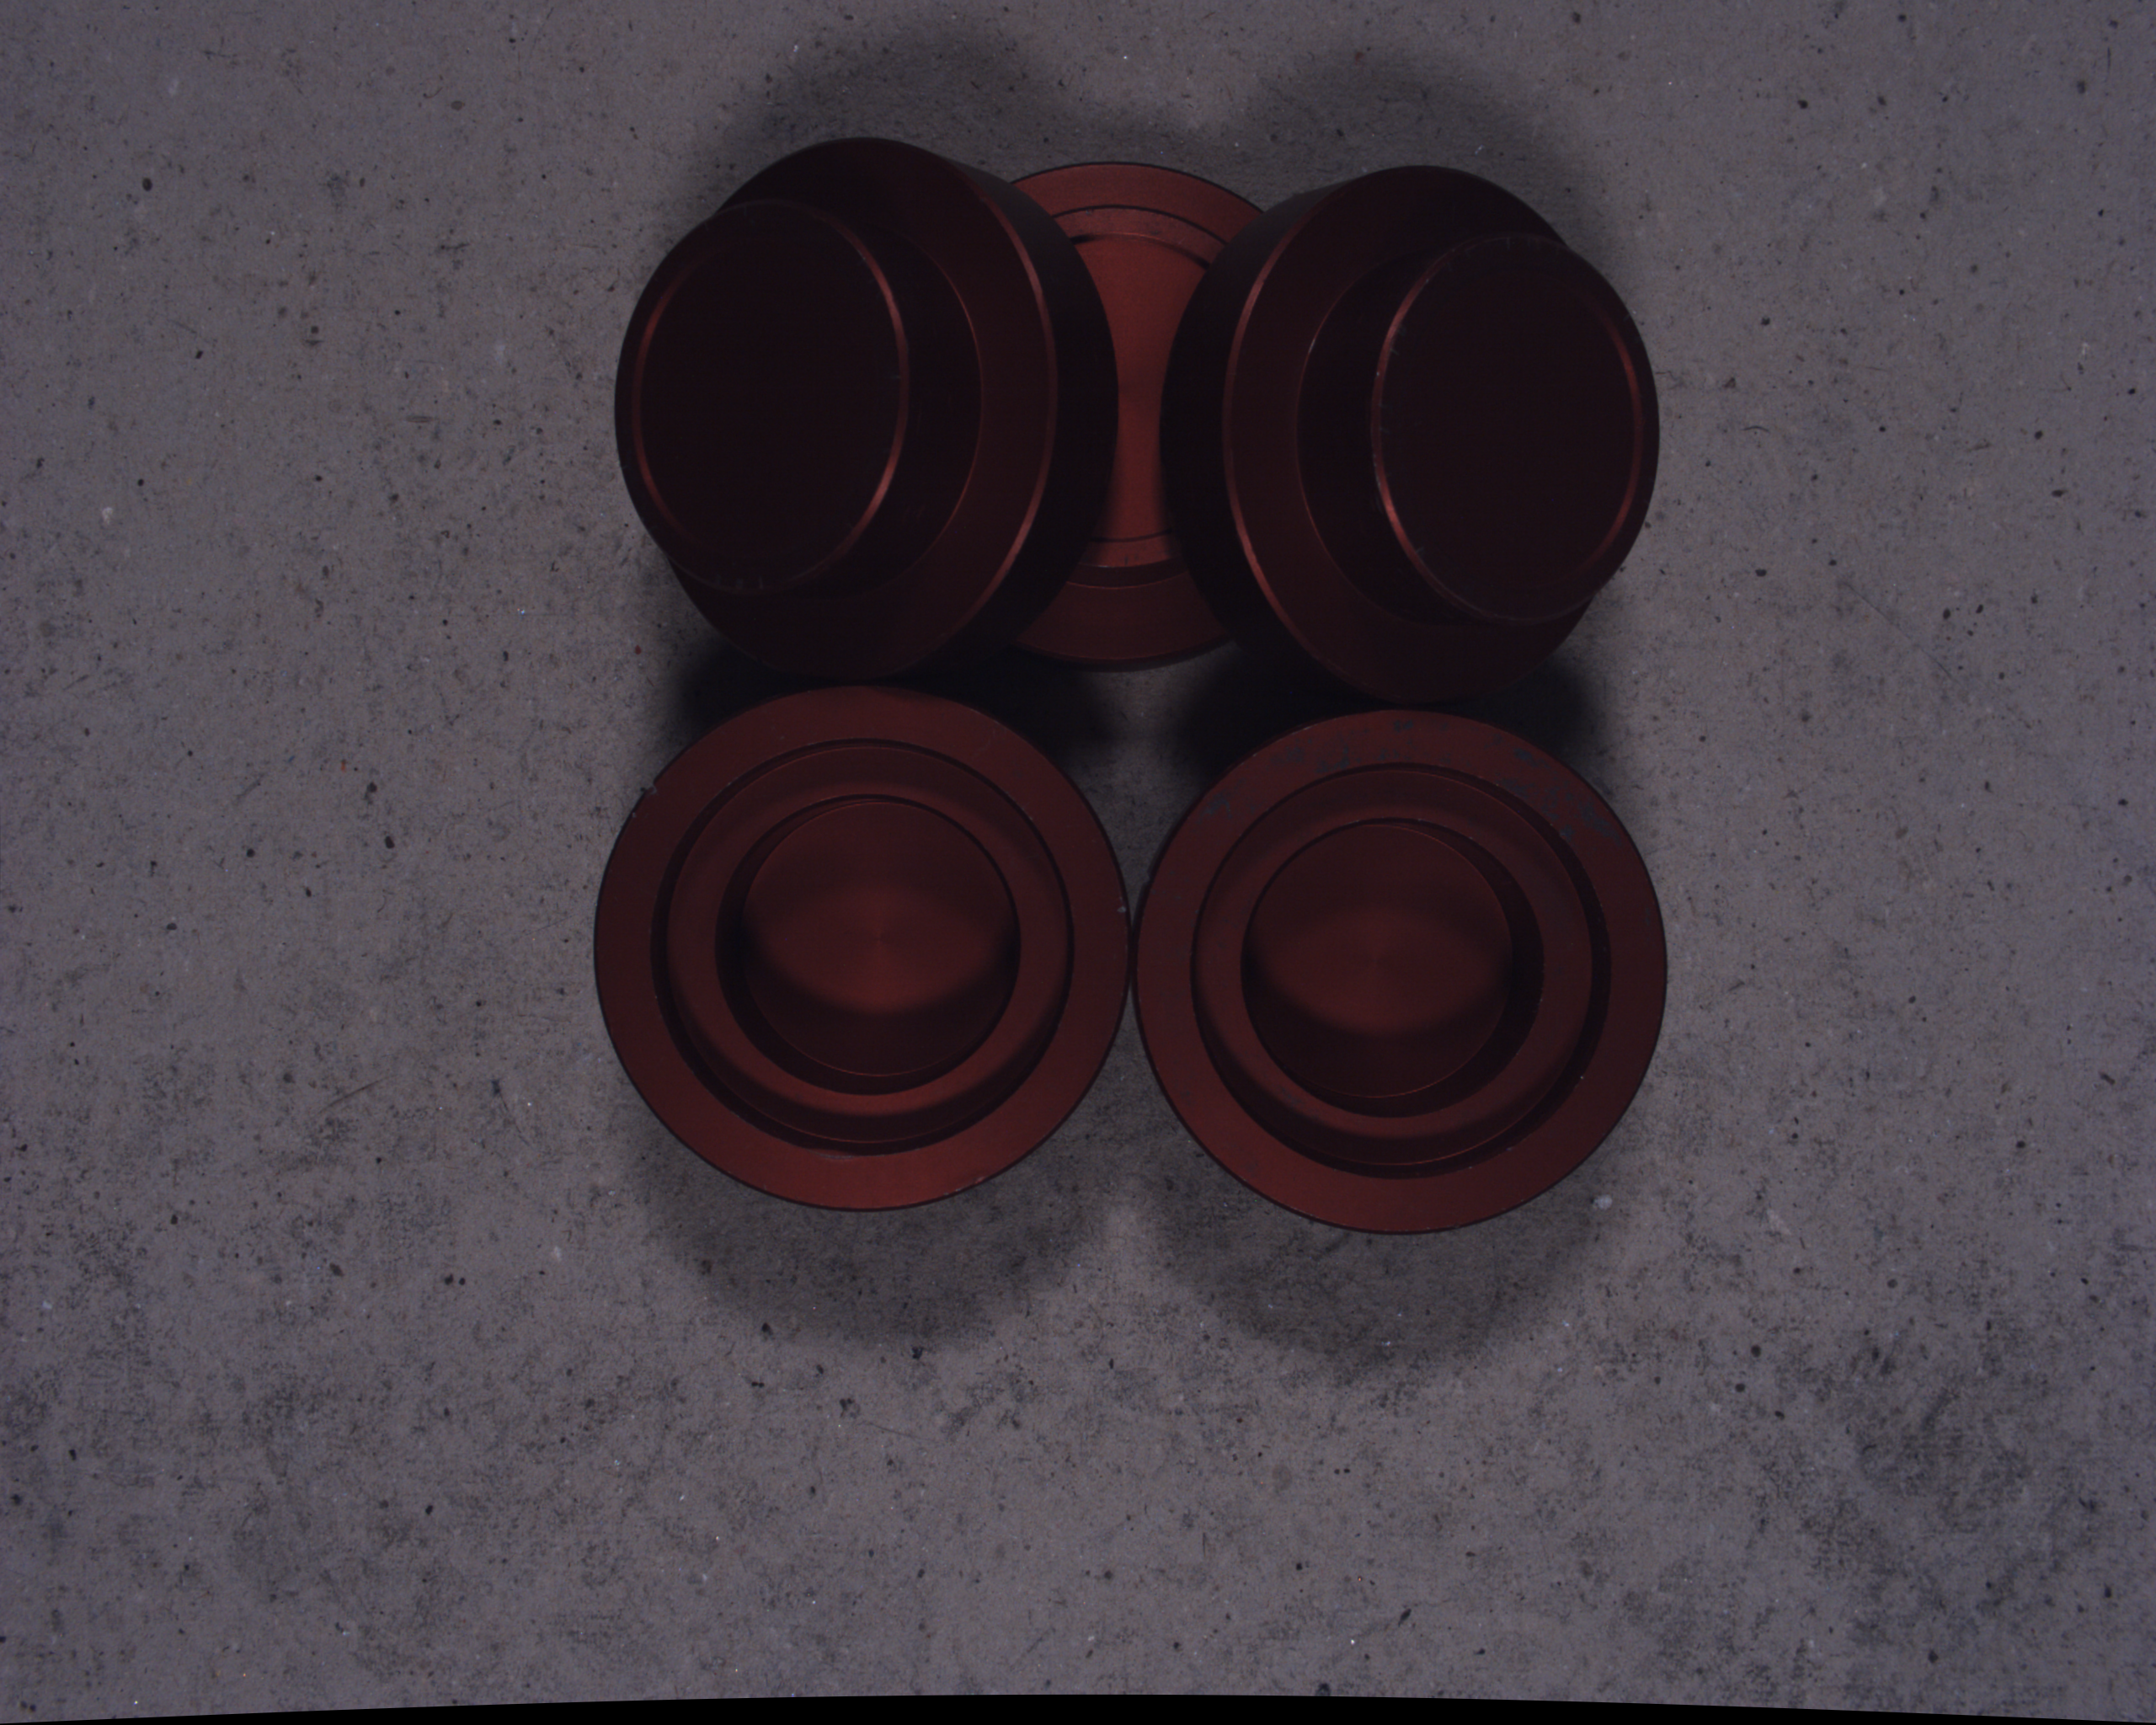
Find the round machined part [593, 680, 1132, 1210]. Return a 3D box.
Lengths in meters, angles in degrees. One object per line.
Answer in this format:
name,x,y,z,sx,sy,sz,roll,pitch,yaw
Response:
round machined part,-0.039,0.015,0.402,0.099,0.042,0.097,0,90,-1

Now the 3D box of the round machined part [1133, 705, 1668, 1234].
round machined part,0.059,0.020,0.403,0.099,0.042,0.097,0,90,-1

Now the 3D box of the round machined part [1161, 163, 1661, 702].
round machined part,0.067,-0.078,0.382,0.099,0.042,0.097,-4,97,-31

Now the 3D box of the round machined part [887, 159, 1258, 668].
round machined part,0.007,-0.087,0.402,0.099,0.042,0.097,0,90,-1

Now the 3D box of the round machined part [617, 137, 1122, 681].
round machined part,-0.044,-0.082,0.378,0.098,0.042,0.097,2,95,33
